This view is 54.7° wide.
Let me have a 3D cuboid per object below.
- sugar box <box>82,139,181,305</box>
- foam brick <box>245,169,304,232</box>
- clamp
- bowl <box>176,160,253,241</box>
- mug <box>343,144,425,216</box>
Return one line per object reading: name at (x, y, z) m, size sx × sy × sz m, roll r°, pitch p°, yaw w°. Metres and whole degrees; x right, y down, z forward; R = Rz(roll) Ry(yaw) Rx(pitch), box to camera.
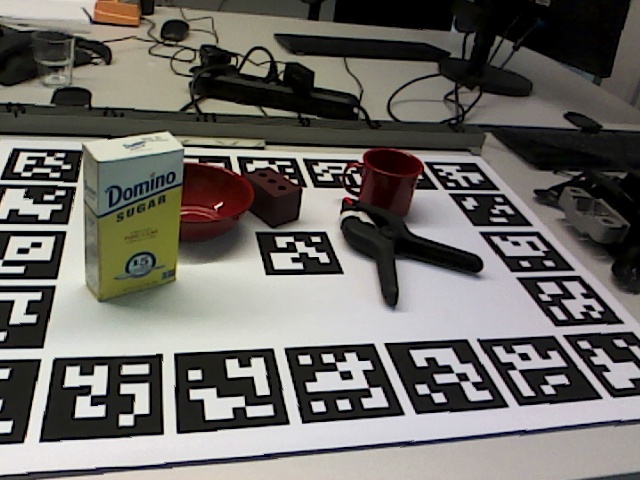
sugar box at (-0.205, -0.018, 0.677) m, size 0.092 × 0.176 × 0.045 m, roll -17°, pitch 44°, yaw -36°
foam brick at (-0.068, -0.057, 0.891) m, size 0.052 × 0.051 × 0.078 m, roll -21°, pitch 46°, yaw -36°
clamp at (0.087, -0.003, 0.843) m, size 0.164 × 0.036 × 0.204 m, roll -18°, pitch 44°, yaw -32°
bowl at (-0.173, -0.047, 0.834) m, size 0.161 × 0.055 × 0.162 m, roll 7°, pitch 34°, yaw -5°
mug at (0.092, -0.093, 0.942) m, size 0.117 × 0.081 × 0.093 m, roll 17°, pitch 34°, yaw 4°
